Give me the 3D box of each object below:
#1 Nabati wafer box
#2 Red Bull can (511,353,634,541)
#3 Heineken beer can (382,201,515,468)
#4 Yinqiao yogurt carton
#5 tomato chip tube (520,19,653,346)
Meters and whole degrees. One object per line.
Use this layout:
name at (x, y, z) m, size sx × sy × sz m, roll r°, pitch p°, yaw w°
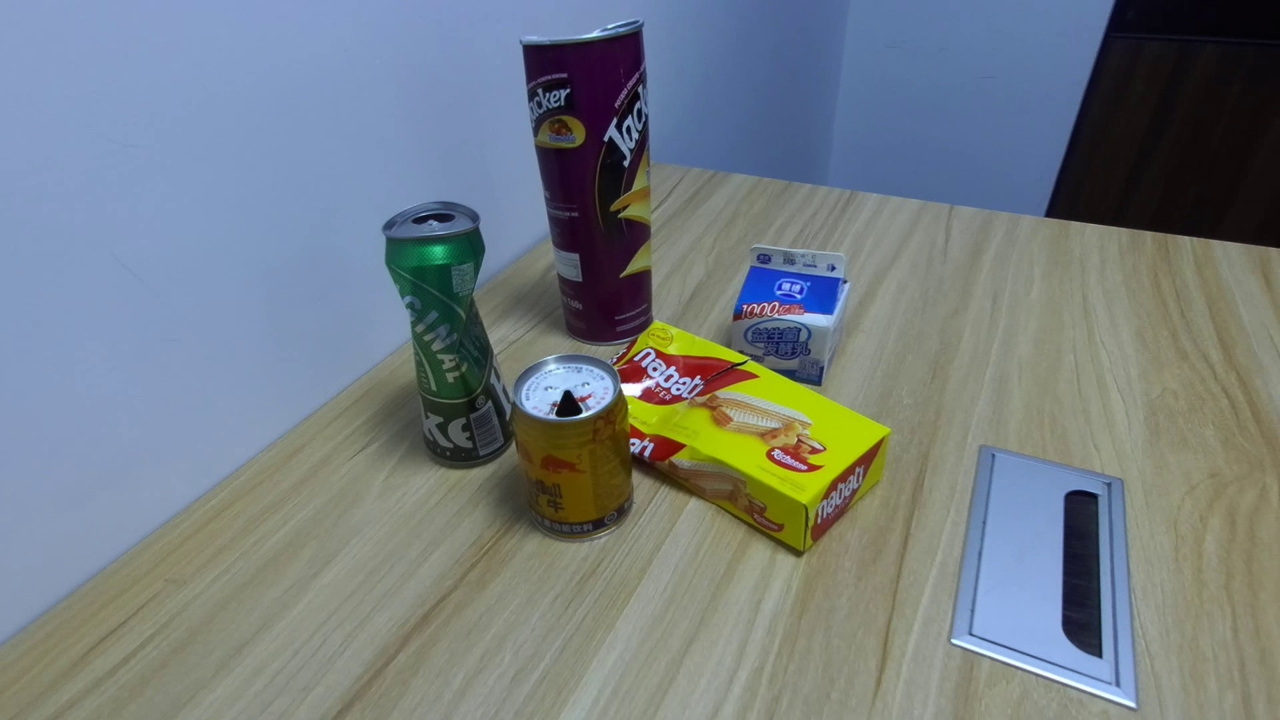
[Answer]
Nabati wafer box at (0.045, 0.040, 0.464) m, size 0.203 × 0.042 × 0.107 m, roll 27°, pitch 43°, yaw 36°
Red Bull can at (-0.038, 0.050, 0.412) m, size 0.067 × 0.093 × 0.067 m, roll -1°, pitch 36°, yaw 1°
Heineken beer can at (-0.119, -0.011, 0.449) m, size 0.066 × 0.164 × 0.078 m, roll 17°, pitch 36°, yaw 27°
Yinqiao yogurt carton at (0.114, -0.043, 0.531) m, size 0.075 × 0.092 × 0.074 m, roll 12°, pitch 37°, yaw 21°
tomato chip tube at (-0.032, -0.128, 0.543) m, size 0.077 × 0.235 × 0.076 m, roll 2°, pitch 35°, yaw 9°
